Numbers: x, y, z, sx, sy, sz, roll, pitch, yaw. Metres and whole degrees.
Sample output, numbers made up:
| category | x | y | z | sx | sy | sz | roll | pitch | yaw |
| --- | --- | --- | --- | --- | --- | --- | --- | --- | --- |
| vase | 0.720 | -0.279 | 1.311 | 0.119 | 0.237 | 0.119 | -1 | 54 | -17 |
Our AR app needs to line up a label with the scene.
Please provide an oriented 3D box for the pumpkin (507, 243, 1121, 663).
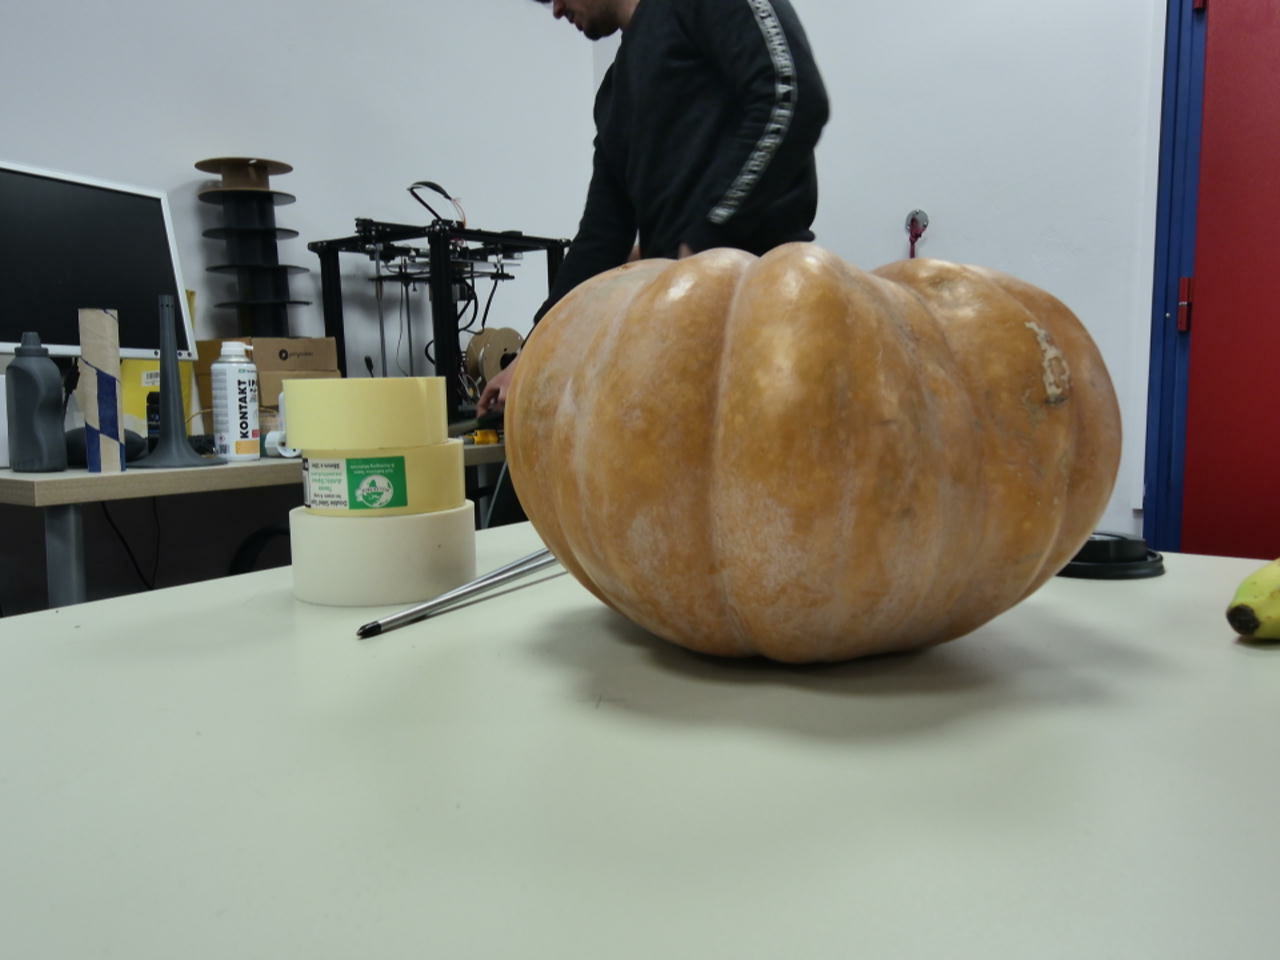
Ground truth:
| category | x | y | z | sx | sy | sz | roll | pitch | yaw |
| --- | --- | --- | --- | --- | --- | --- | --- | --- | --- |
| pumpkin | 0.071 | -0.016 | 0.467 | 0.277 | 0.181 | 0.277 | 0 | 3 | 0 |
